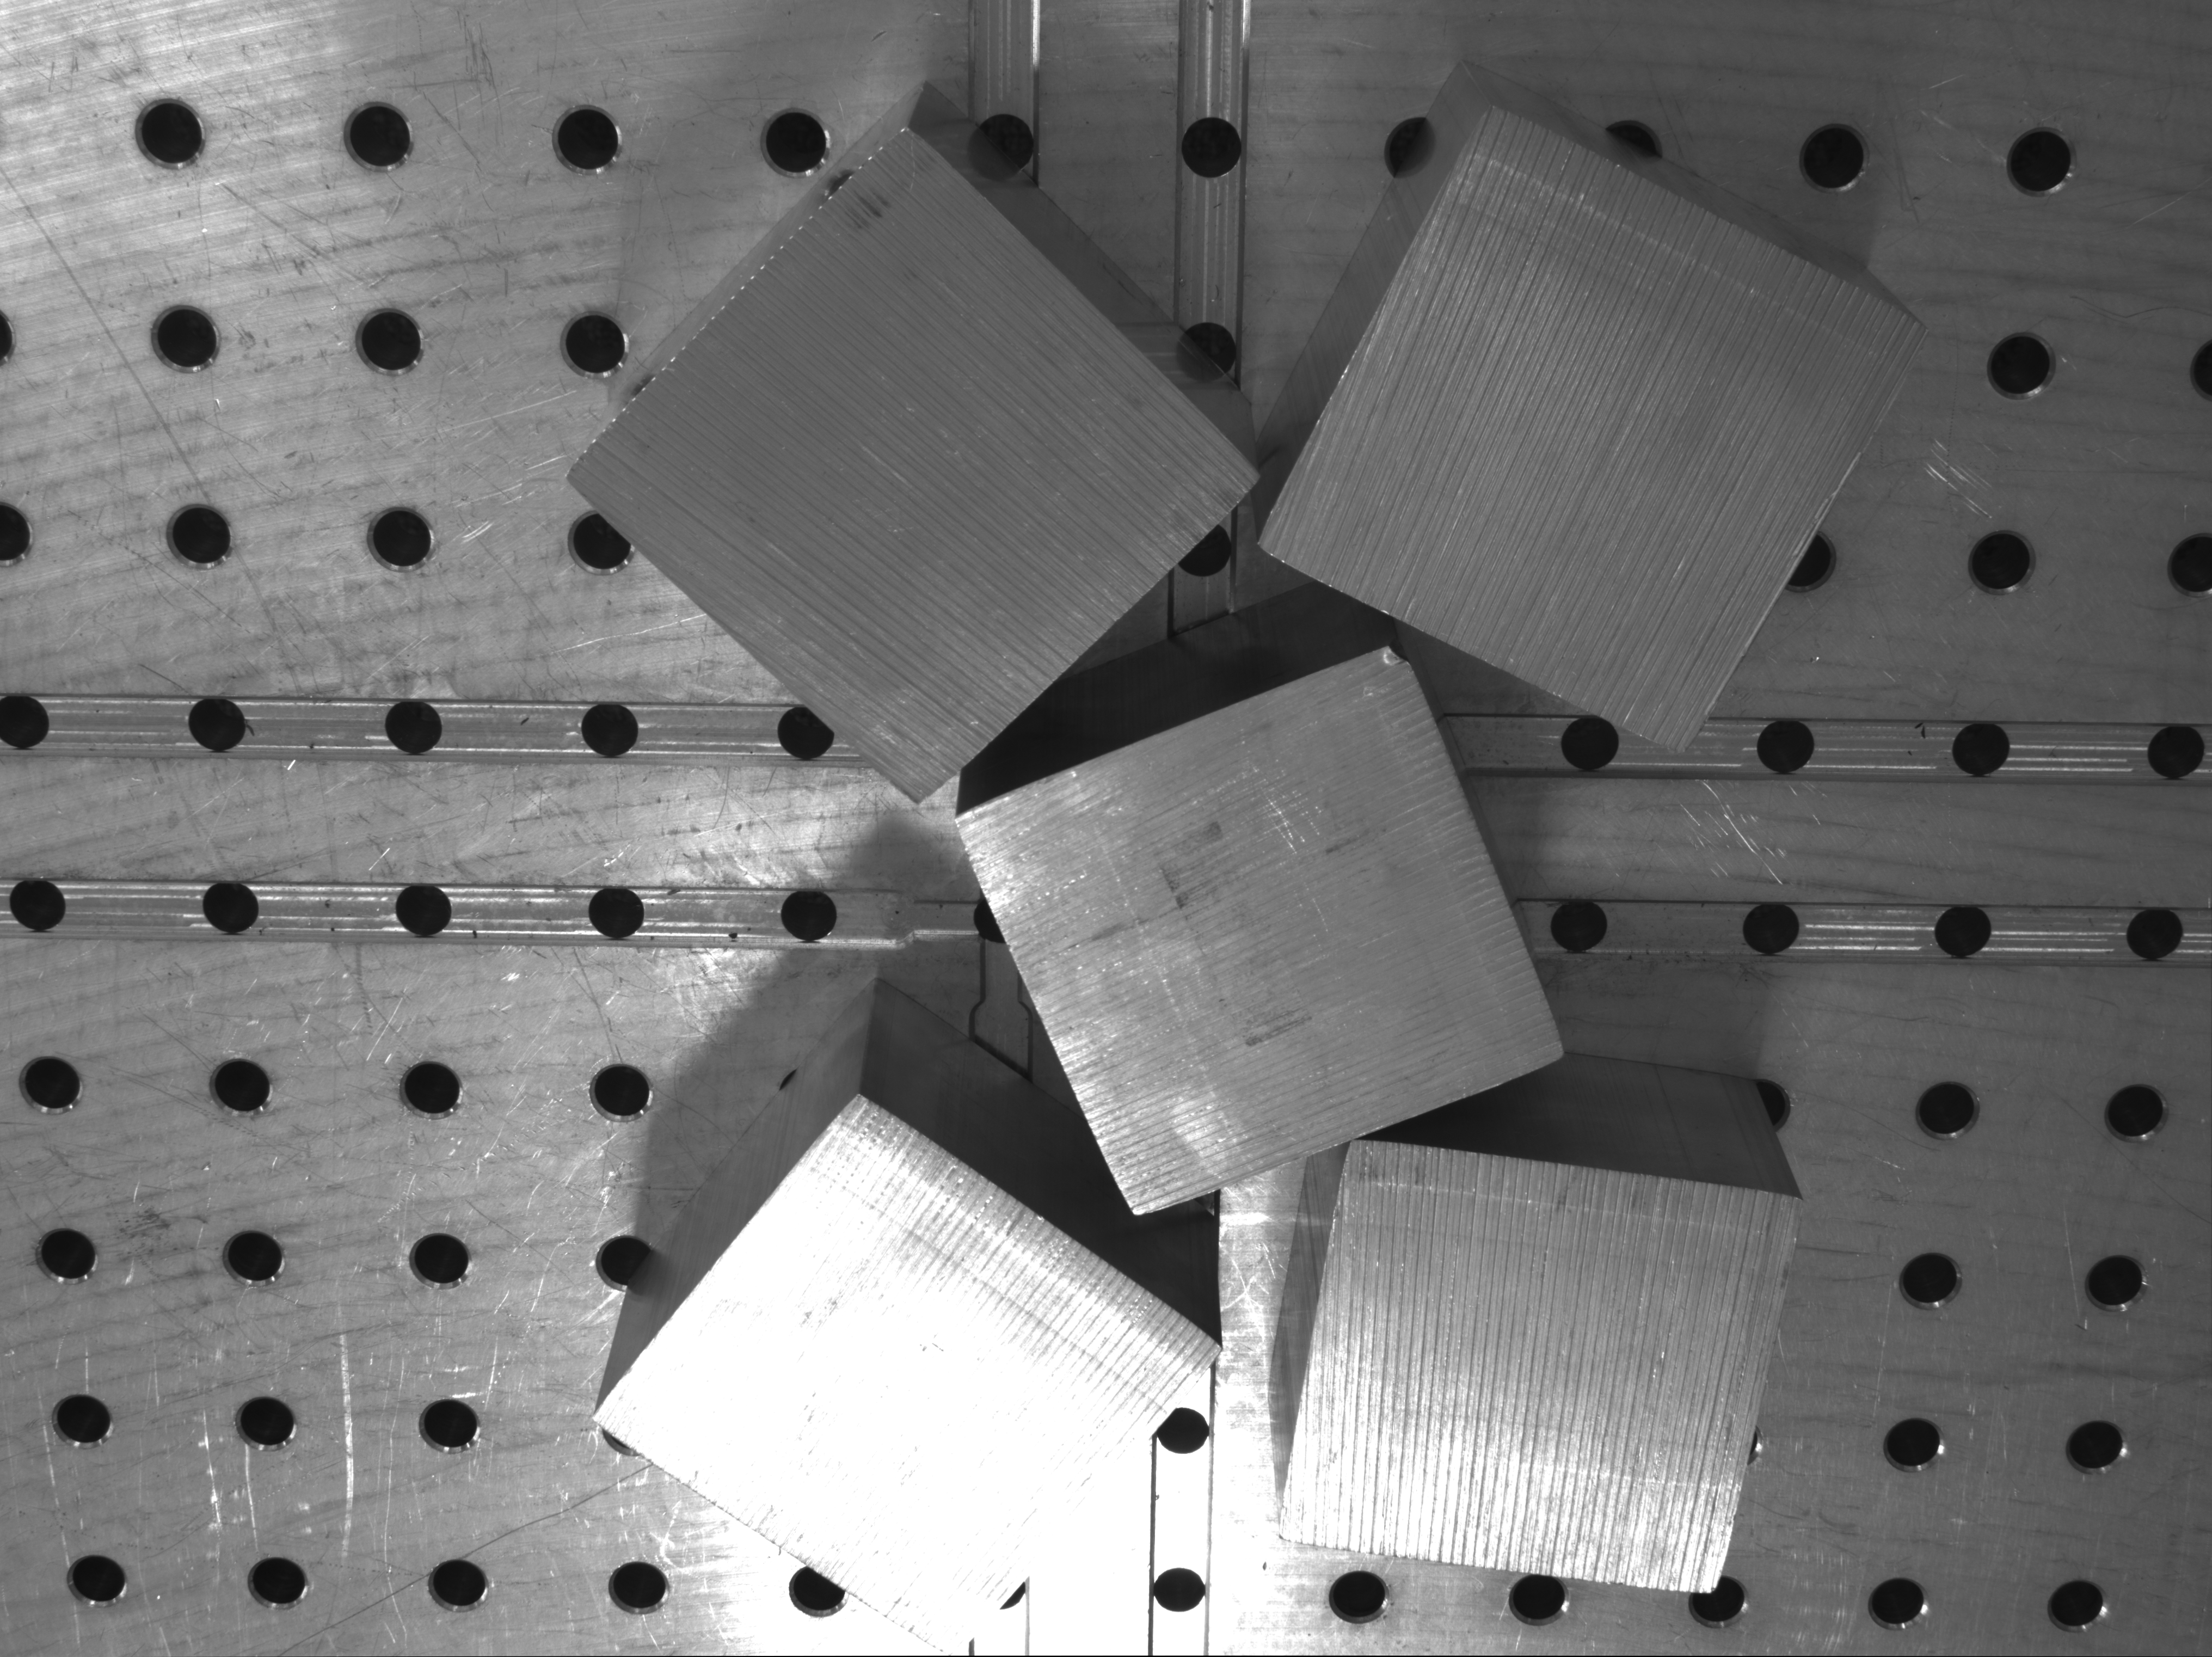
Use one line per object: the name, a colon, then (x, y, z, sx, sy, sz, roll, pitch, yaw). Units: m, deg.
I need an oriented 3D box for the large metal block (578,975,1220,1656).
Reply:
large metal block: (-0.036, 0.088, 0.664, 0.080, 0.050, 0.080, 36, 106, -12)

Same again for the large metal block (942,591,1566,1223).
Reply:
large metal block: (0.025, 0.010, 0.636, 0.080, 0.050, 0.080, -21, 109, 8)

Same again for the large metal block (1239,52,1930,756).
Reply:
large metal block: (0.076, -0.070, 0.607, 0.080, 0.050, 0.080, 23, 108, -11)

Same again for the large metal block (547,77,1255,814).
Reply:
large metal block: (-0.032, -0.064, 0.610, 0.080, 0.050, 0.080, -42, 104, 14)

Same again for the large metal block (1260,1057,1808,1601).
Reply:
large metal block: (0.075, 0.087, 0.665, 0.080, 0.050, 0.080, 8, 110, -3)
